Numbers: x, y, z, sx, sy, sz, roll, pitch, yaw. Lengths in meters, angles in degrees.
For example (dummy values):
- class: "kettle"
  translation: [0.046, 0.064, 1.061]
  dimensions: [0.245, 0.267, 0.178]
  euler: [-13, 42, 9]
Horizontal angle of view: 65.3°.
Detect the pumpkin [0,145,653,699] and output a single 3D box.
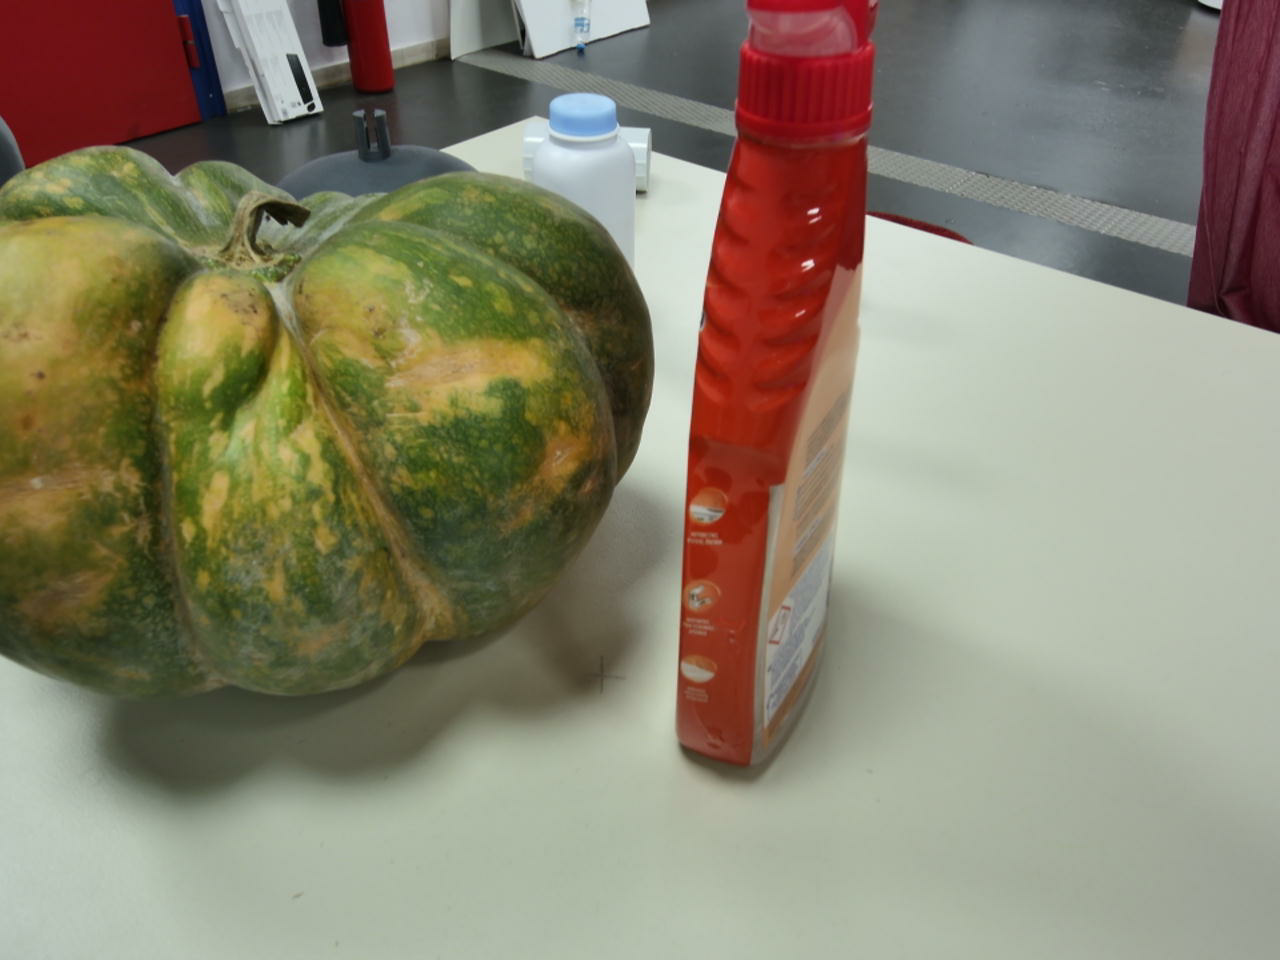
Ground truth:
- class: "pumpkin"
  translation: [-0.131, -0.033, 0.361]
  dimensions: [0.270, 0.173, 0.237]
  euler: [-9, 37, -12]
